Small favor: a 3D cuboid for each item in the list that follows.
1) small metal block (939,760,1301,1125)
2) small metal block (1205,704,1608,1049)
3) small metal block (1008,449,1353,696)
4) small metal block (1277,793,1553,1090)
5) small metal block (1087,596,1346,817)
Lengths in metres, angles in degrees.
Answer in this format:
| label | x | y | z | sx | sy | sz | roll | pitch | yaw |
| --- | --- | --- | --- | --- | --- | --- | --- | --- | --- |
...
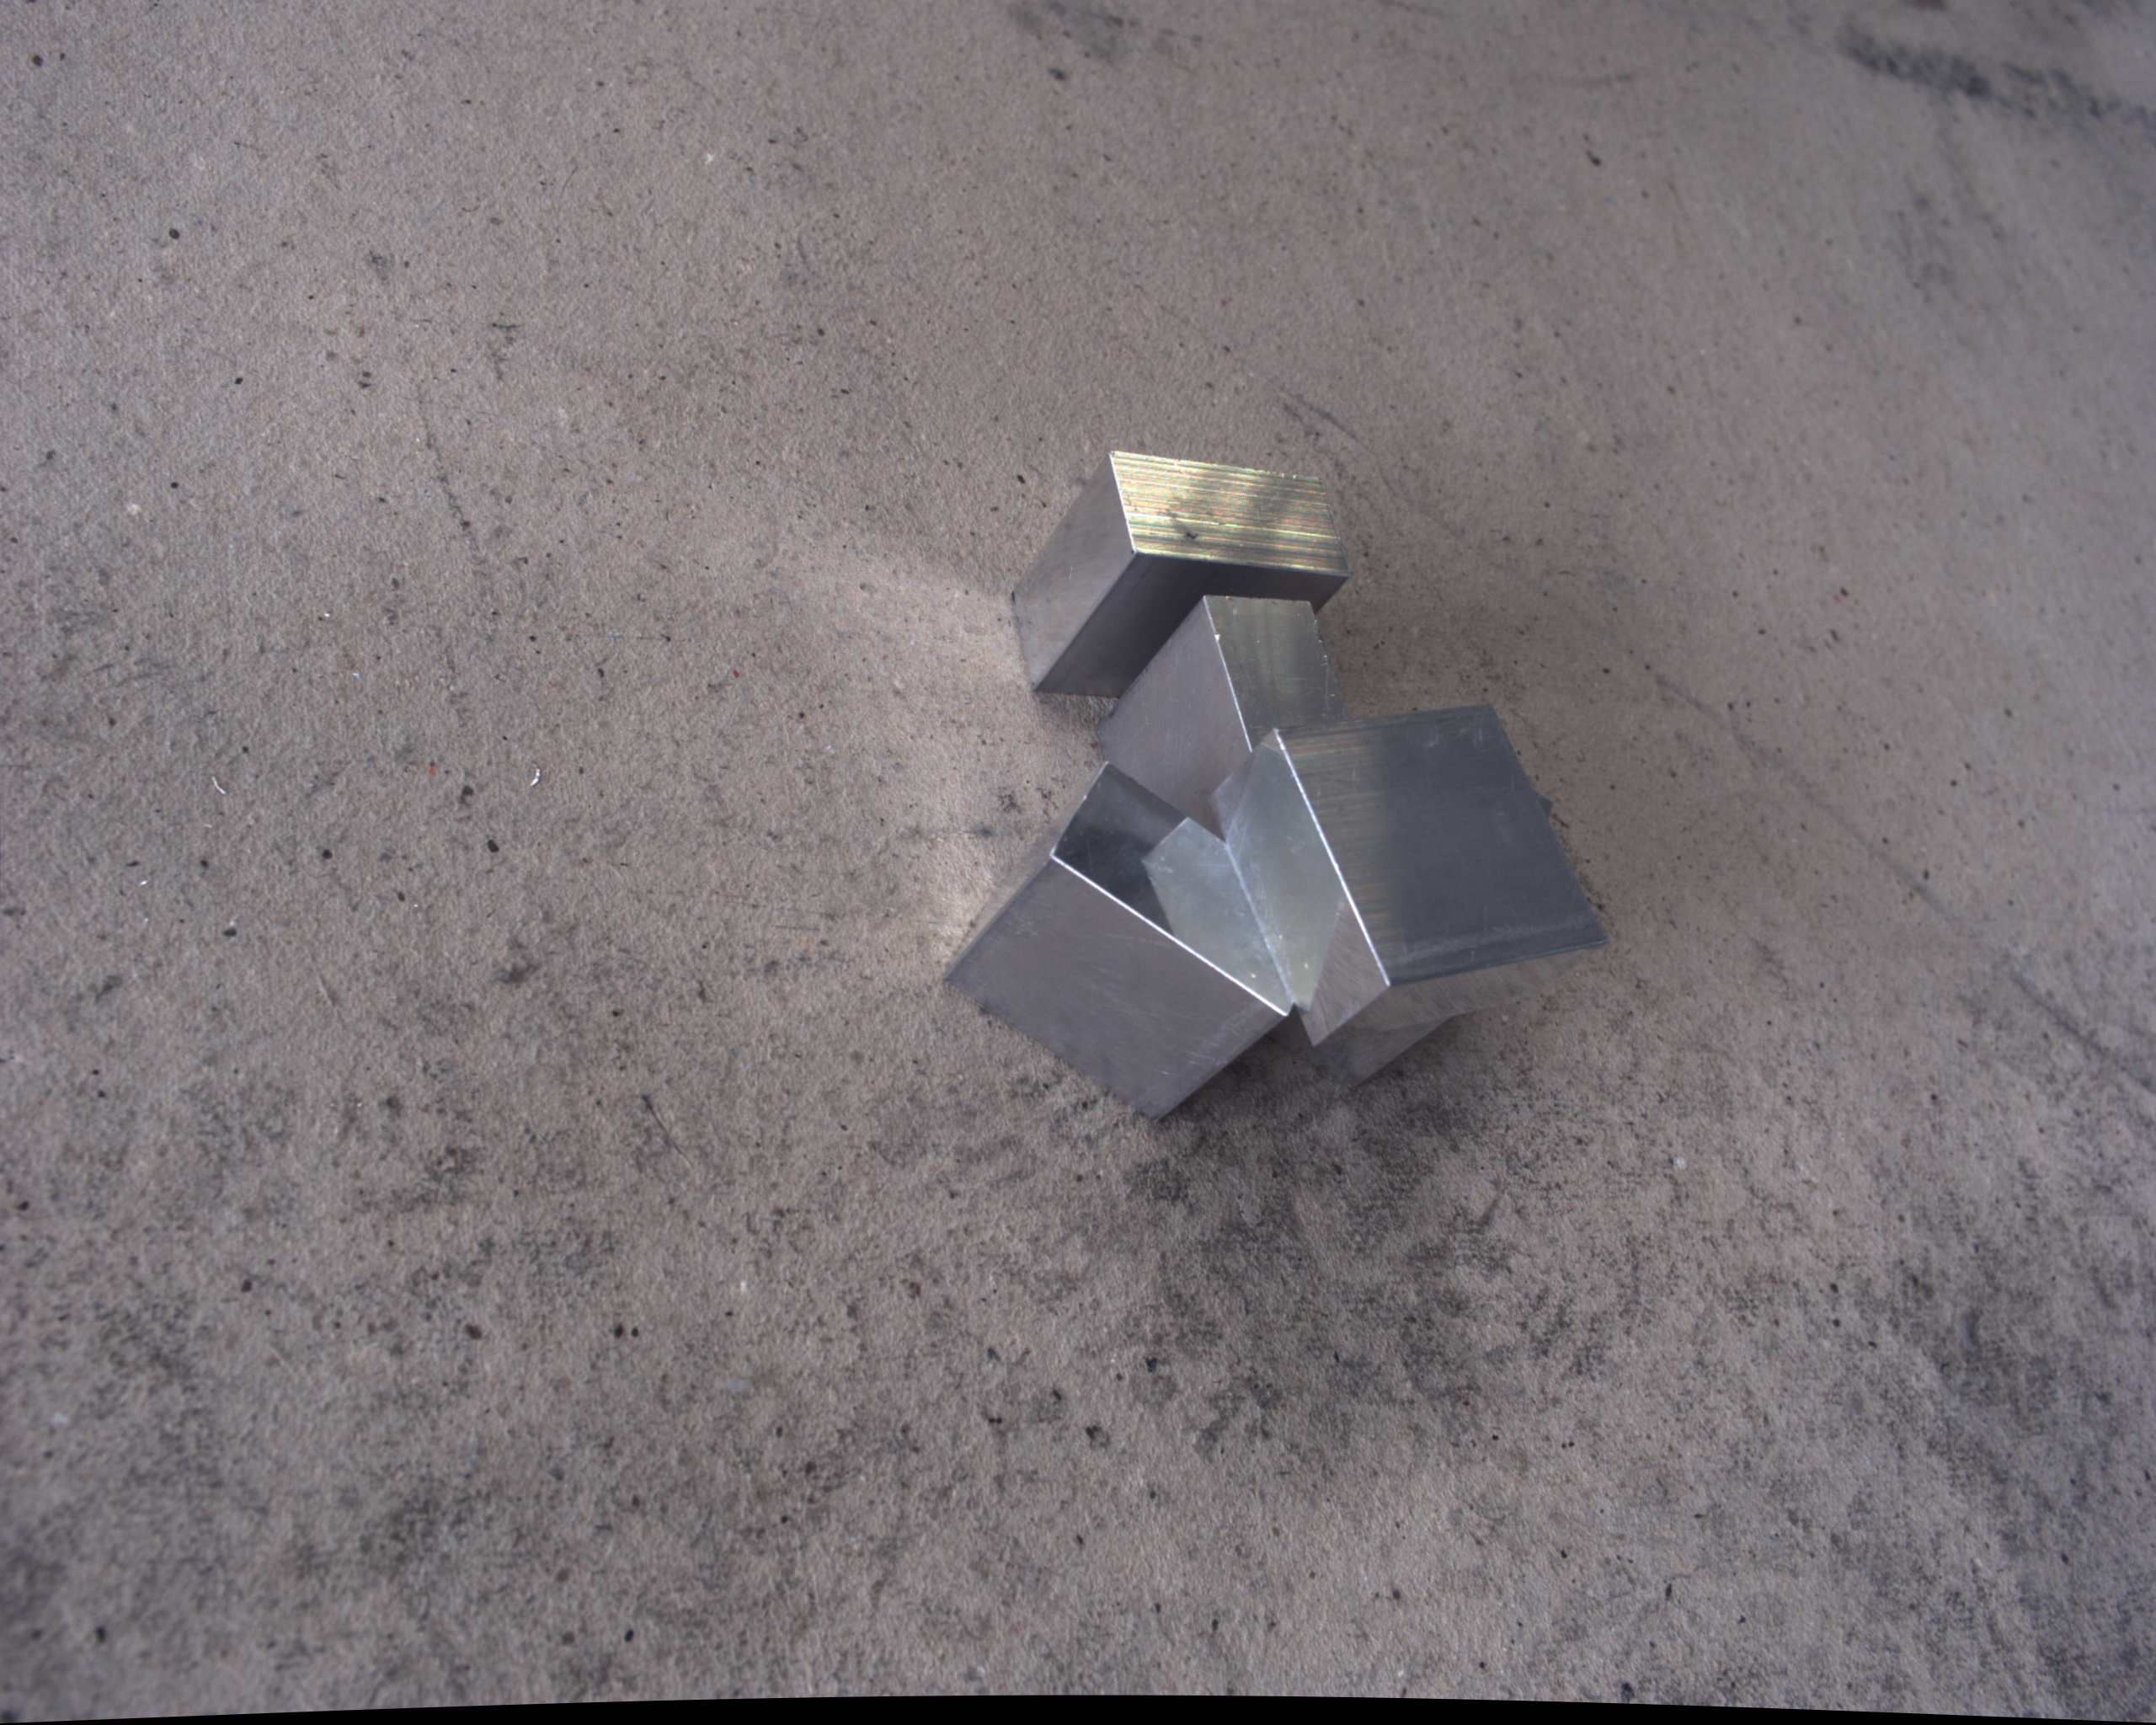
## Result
| label | x | y | z | sx | sy | sz | roll | pitch | yaw |
| --- | --- | --- | --- | --- | --- | --- | --- | --- | --- |
| small metal block | 0.010 | 0.016 | 0.384 | 0.050 | 0.050 | 0.025 | 35 | 51 | -7 |
| small metal block | 0.058 | 0.002 | 0.372 | 0.050 | 0.025 | 0.050 | -9 | 66 | -31 |
| small metal block | 0.020 | -0.058 | 0.435 | 0.050 | 0.050 | 0.025 | 2 | 61 | -28 |
| small metal block | 0.065 | 0.011 | 0.418 | 0.025 | 0.050 | 0.050 | 33 | 52 | -7 |
| small metal block | 0.030 | -0.018 | 0.417 | 0.025 | 0.050 | 0.050 | 0 | 61 | -29 |
